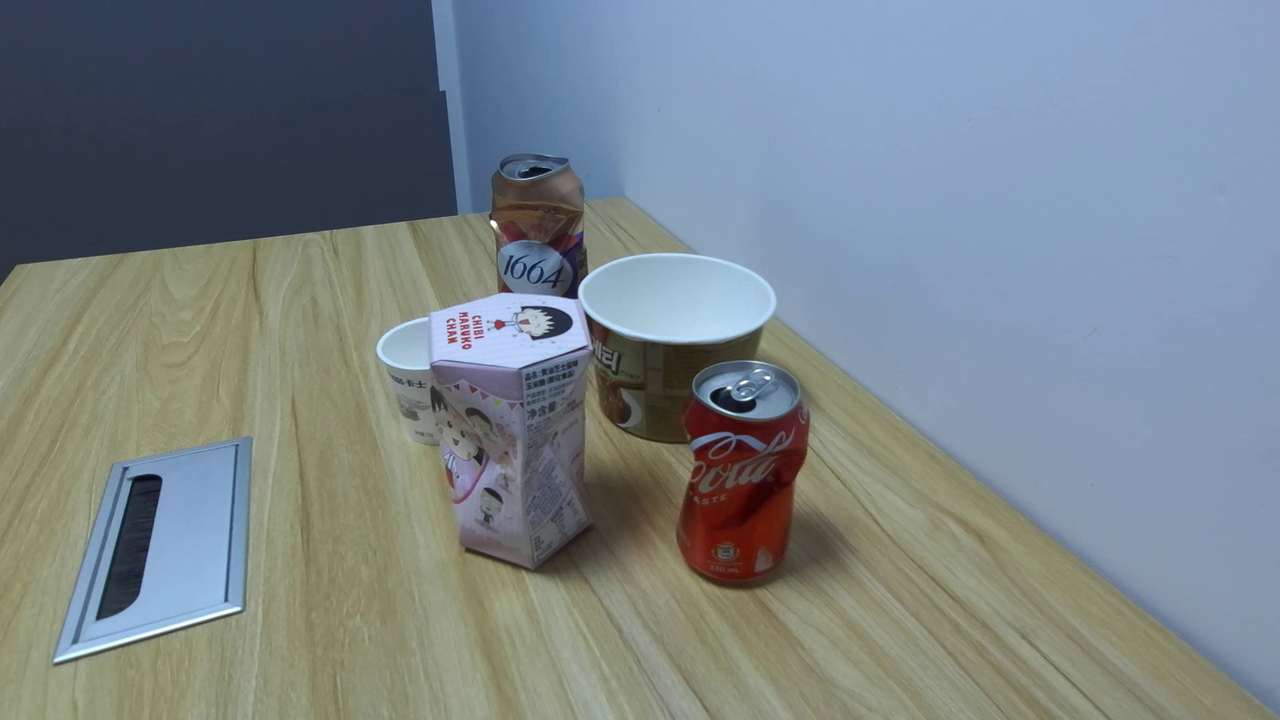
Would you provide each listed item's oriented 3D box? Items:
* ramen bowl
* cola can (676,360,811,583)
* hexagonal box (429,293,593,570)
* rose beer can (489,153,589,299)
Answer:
[{"bbox_3d":[0.026,-0.009,0.515,0.140,0.095,0.140,2,31,-1],"label":"ramen bowl"},{"bbox_3d":[0.055,0.060,0.384,0.066,0.117,0.066,3,31,2],"label":"cola can"},{"bbox_3d":[-0.070,0.038,0.403,0.088,0.135,0.093,24,38,33],"label":"hexagonal box"},{"bbox_3d":[-0.078,-0.080,0.565,0.074,0.162,0.068,-8,33,-11],"label":"rose beer can"}]
